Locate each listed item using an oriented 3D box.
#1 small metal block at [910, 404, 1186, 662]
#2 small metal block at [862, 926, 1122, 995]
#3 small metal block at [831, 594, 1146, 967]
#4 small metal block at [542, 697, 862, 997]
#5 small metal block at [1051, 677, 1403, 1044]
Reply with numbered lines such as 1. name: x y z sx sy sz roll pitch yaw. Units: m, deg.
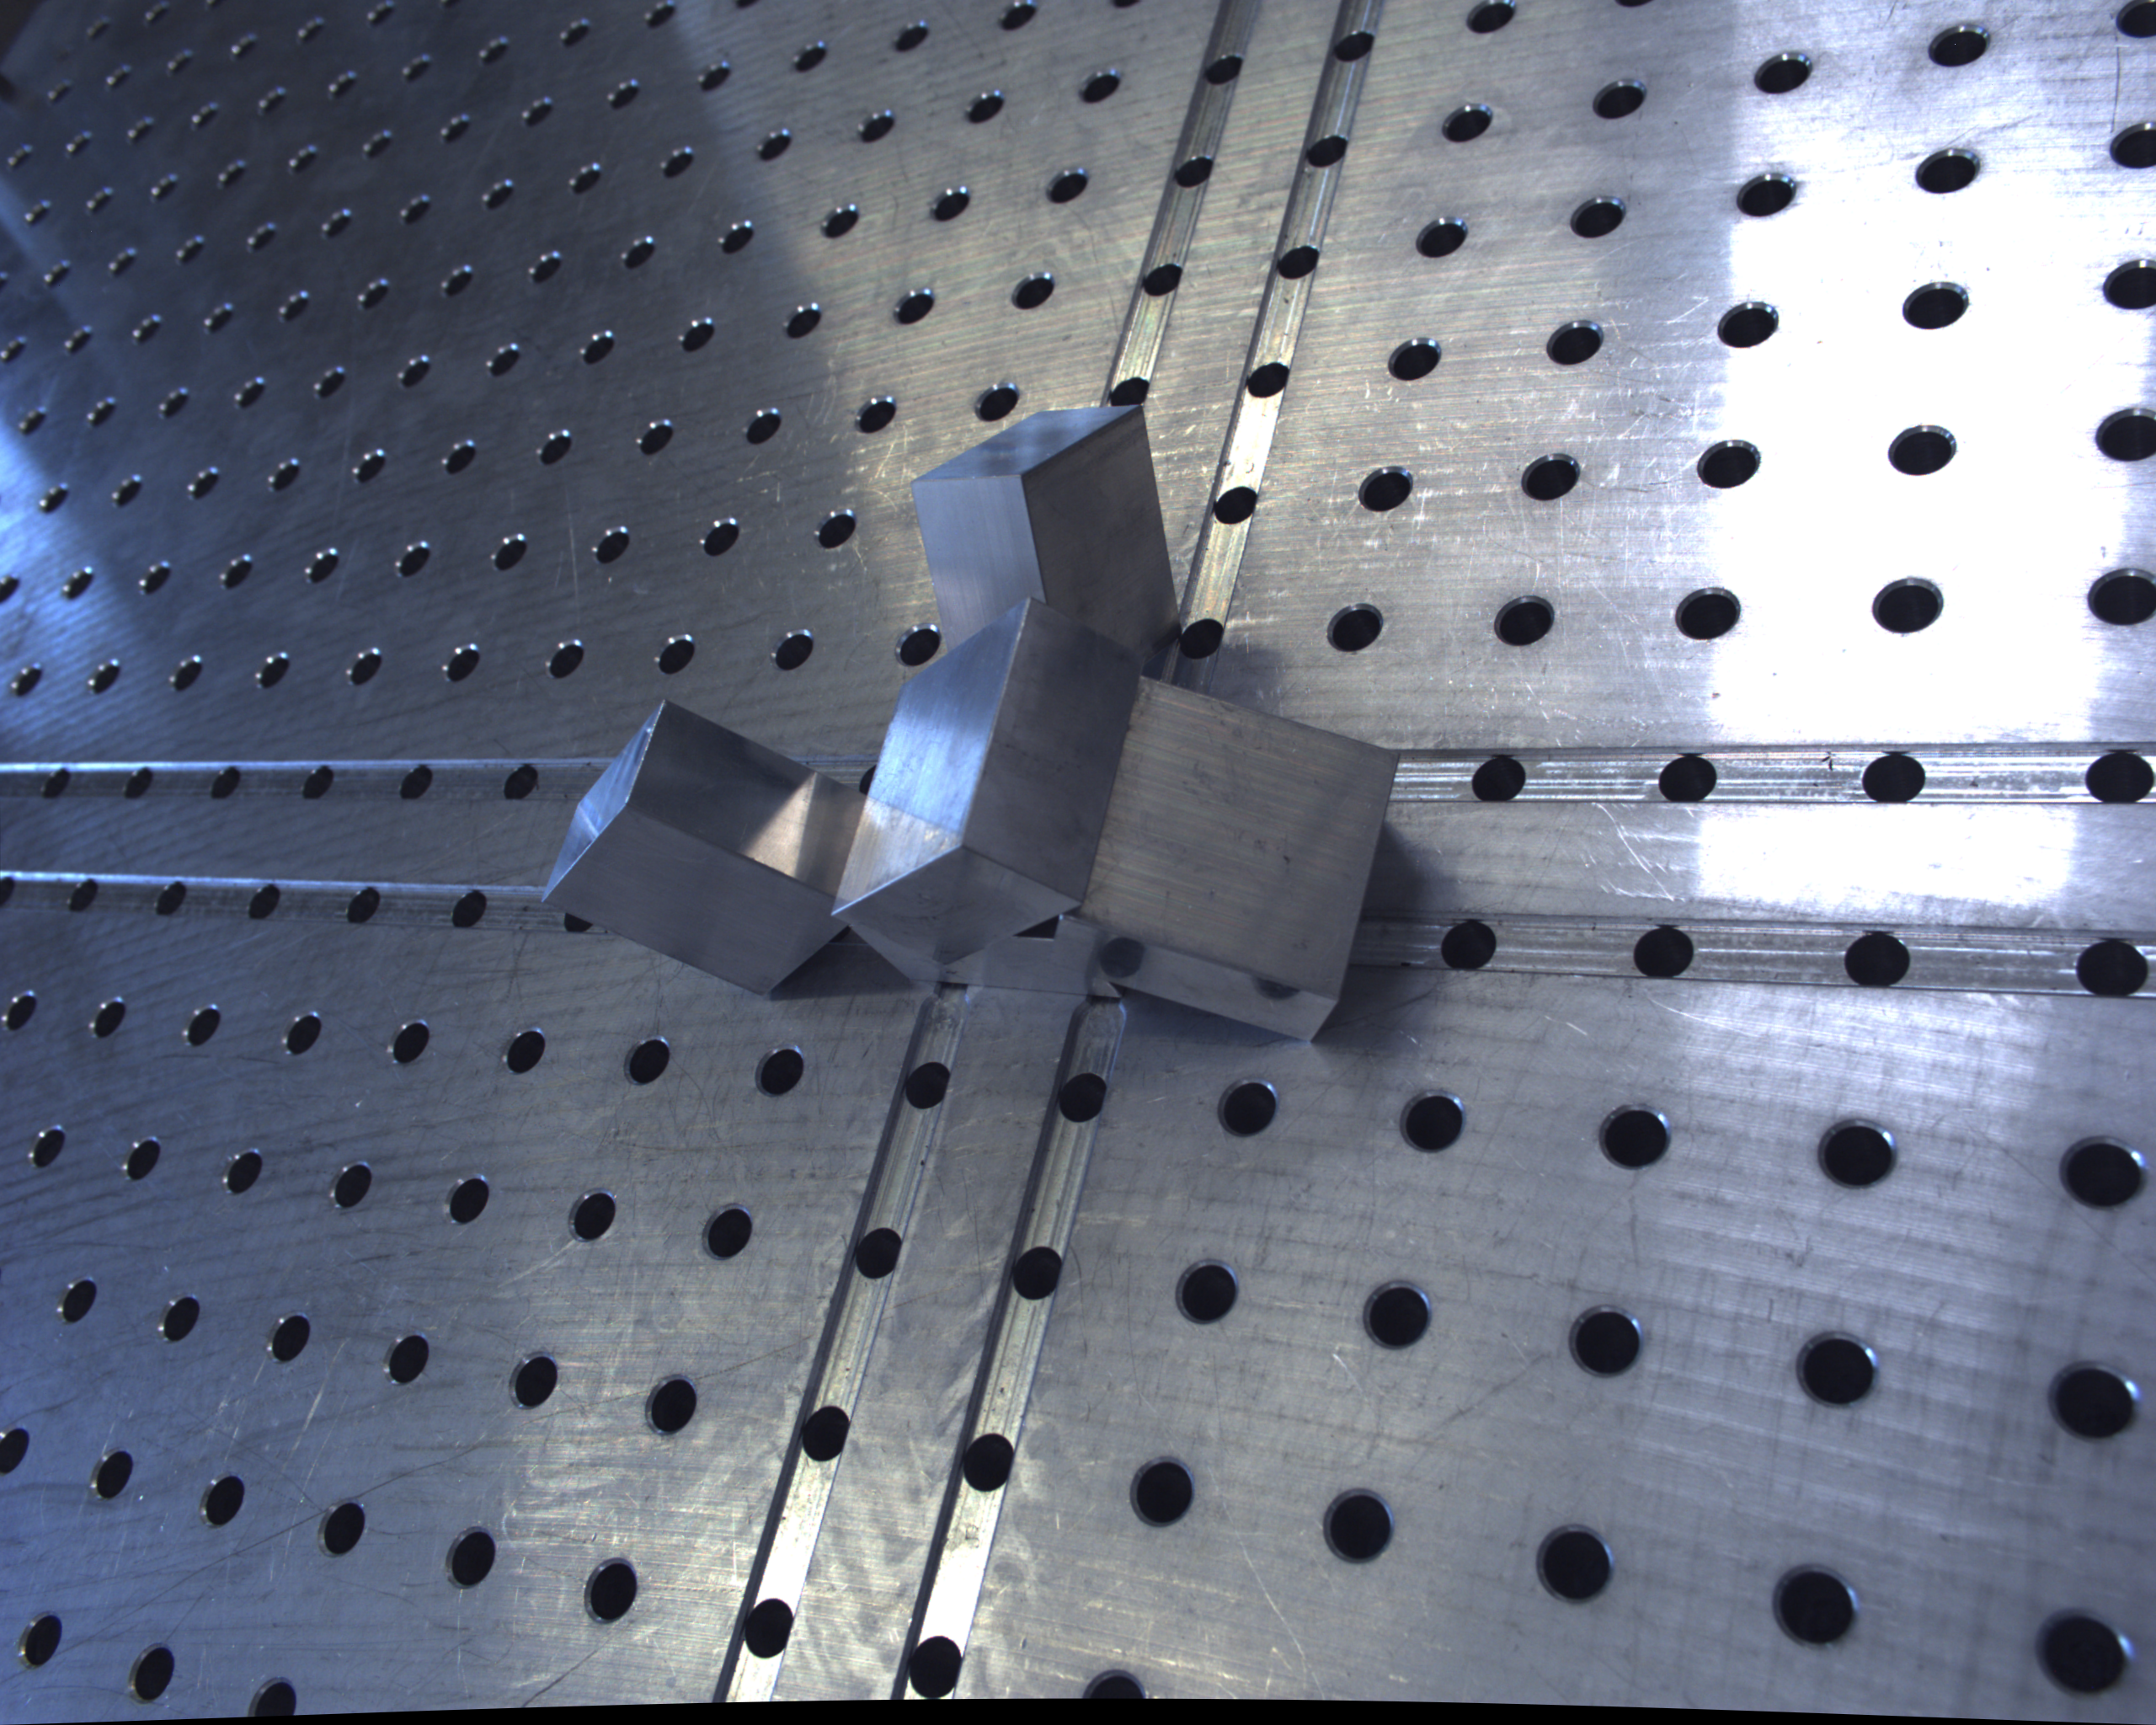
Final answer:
1. small metal block: -0.005 -0.060 0.419 0.025 0.050 0.050 3 27 30
2. small metal block: -0.011 -0.003 0.417 0.050 0.025 0.050 3 63 29
3. small metal block: -0.017 -0.014 0.379 0.050 0.025 0.050 -27 43 55
4. small metal block: -0.072 -0.002 0.419 0.050 0.050 0.025 -37 34 51
5. small metal block: 0.027 0.000 0.381 0.050 0.025 0.050 16 66 1
